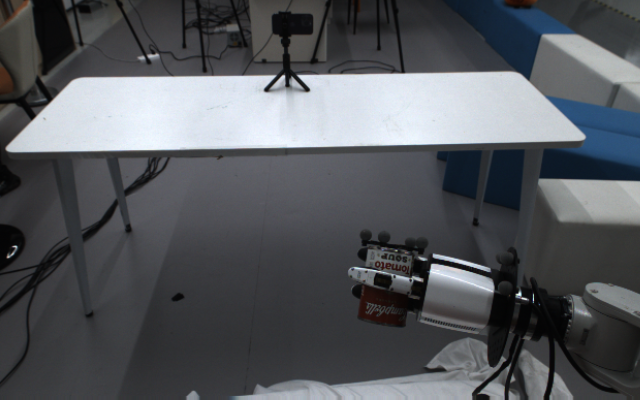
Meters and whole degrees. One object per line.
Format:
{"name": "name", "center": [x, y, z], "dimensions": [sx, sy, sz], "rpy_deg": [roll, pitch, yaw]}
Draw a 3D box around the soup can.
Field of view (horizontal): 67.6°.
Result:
{"name": "soup can", "center": [0.093, 0.119, 0.672], "dimensions": [0.067, 0.101, 0.067], "rpy_deg": [9, -6, 1]}
